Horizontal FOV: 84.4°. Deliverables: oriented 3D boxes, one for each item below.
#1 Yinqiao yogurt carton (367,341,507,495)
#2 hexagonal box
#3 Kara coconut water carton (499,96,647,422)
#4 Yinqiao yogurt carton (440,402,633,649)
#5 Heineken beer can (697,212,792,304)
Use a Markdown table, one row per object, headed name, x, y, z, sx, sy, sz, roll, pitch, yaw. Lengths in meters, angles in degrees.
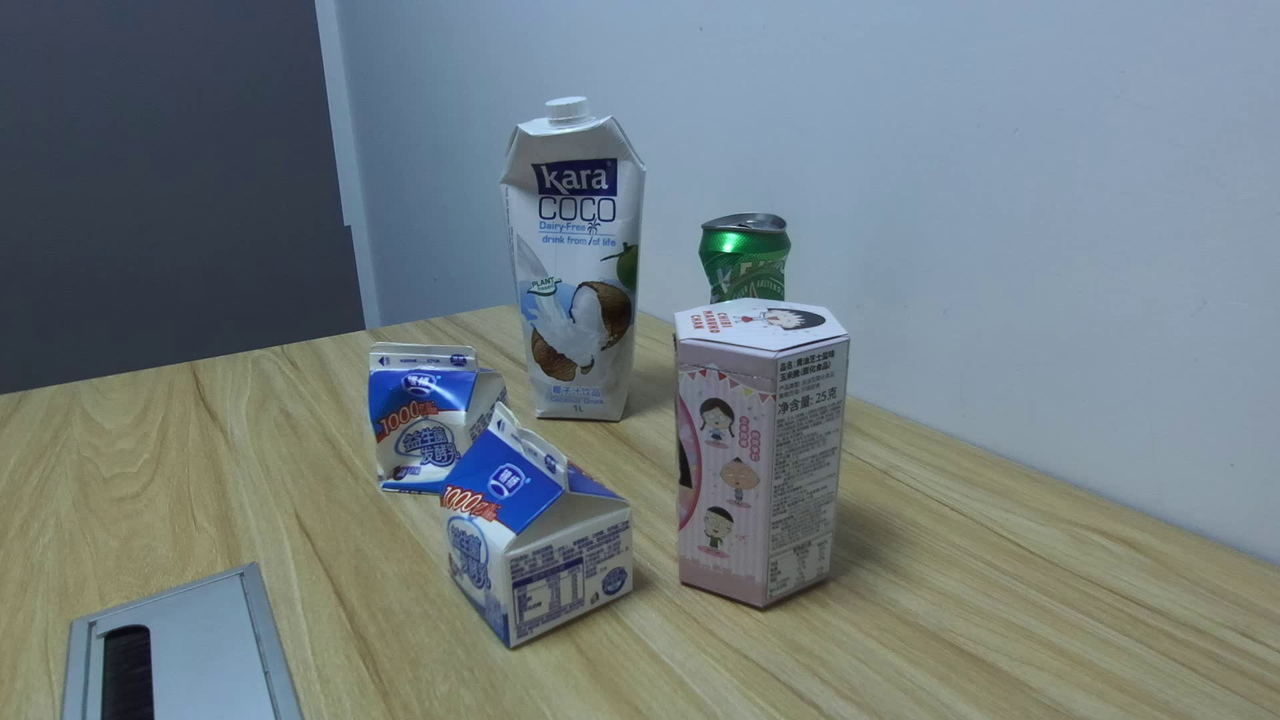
| name | x | y | z | sx | sy | sz | roll | pitch | yaw |
| --- | --- | --- | --- | --- | --- | --- | --- | --- | --- |
| Yinqiao yogurt carton | -0.133 | 0.032 | 0.468 | 0.077 | 0.094 | 0.071 | 2 | 27 | 9 |
| hexagonal box | 0.057 | 0.045 | 0.361 | 0.084 | 0.136 | 0.091 | -1 | 21 | -1 |
| Kara coconut water carton | -0.048 | -0.072 | 0.535 | 0.115 | 0.238 | 0.069 | 2 | 22 | 9 |
| Yinqiao yogurt carton | -0.053 | 0.074 | 0.353 | 0.074 | 0.092 | 0.075 | -15 | 26 | -33 |
| Heineken beer can | 0.074 | -0.014 | 0.482 | 0.078 | 0.164 | 0.066 | -11 | 21 | -19 |
